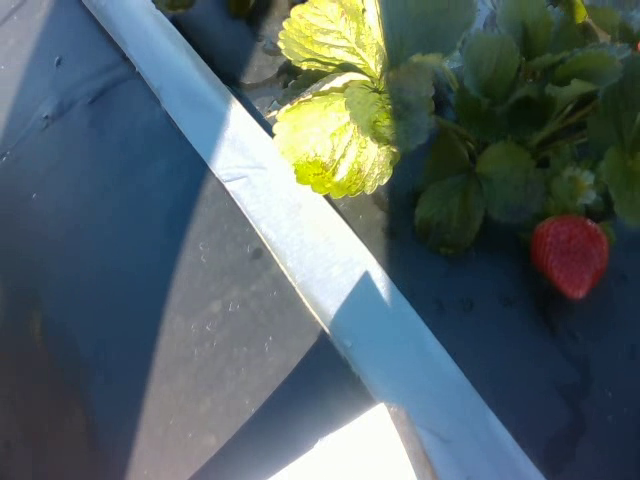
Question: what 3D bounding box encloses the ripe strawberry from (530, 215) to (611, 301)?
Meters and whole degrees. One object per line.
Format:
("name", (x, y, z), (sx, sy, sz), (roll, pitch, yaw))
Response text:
("ripe strawberry", (0.134, 0.011, 0.397), (0.045, 0.059, 0.042), (-14, -44, 35))
